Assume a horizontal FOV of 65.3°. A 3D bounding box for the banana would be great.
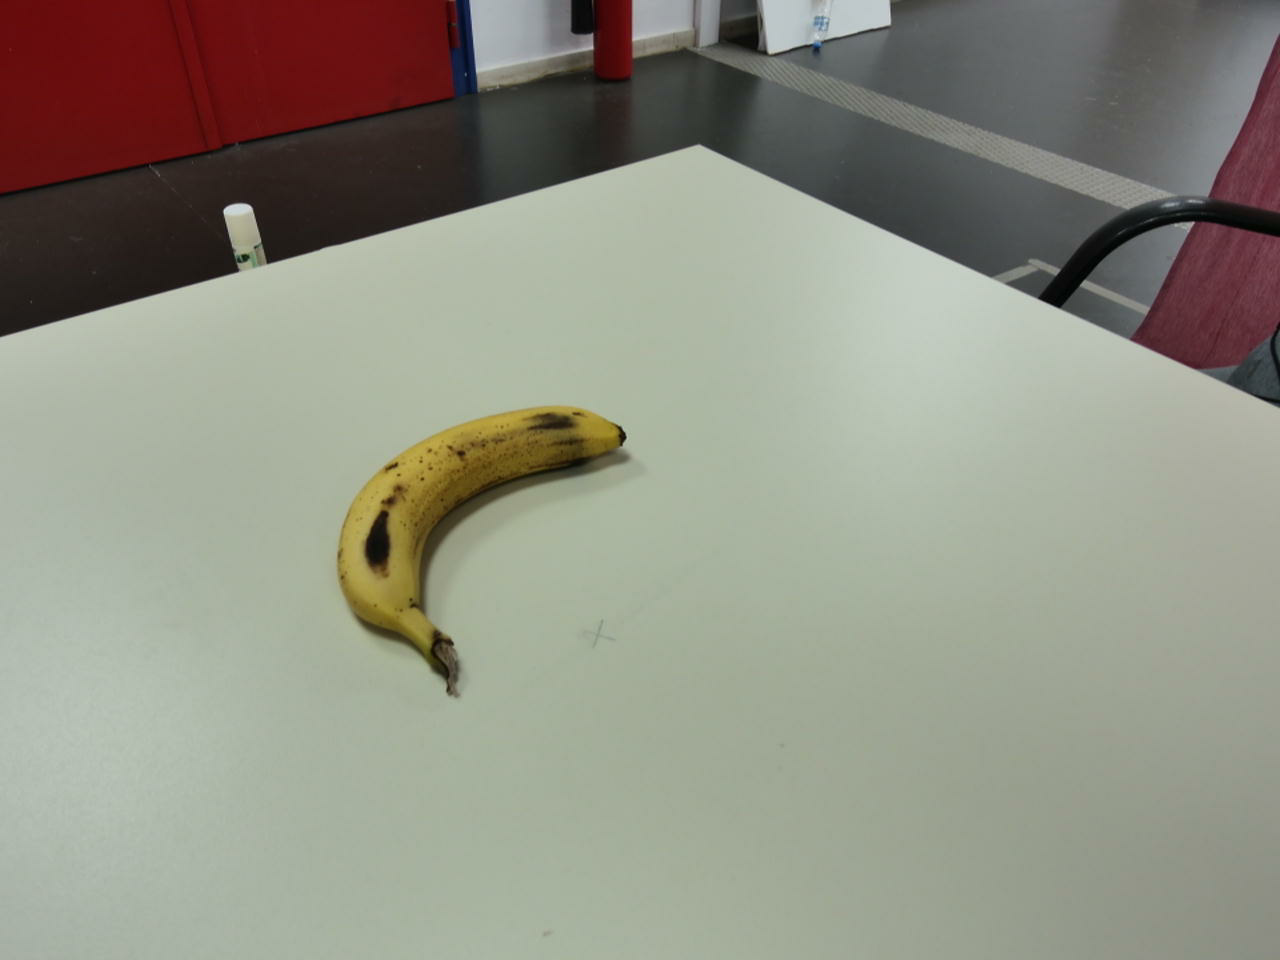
[{"bbox_3d":[-0.087,0.012,0.508,0.097,0.038,0.186,15,40,18],"label":"banana"}]
